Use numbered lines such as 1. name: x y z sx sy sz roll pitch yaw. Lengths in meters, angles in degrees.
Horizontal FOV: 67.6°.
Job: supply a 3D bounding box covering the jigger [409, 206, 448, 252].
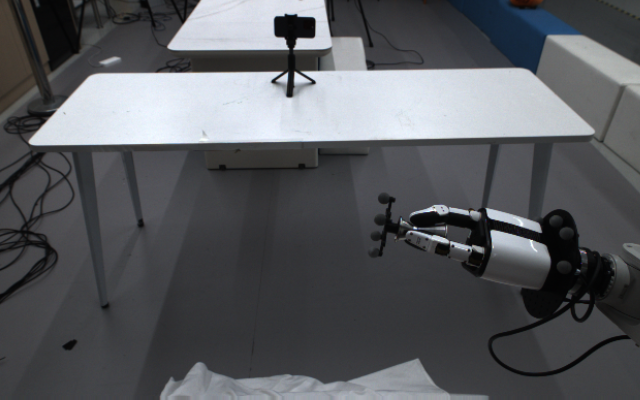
1. jigger: 0.152 0.046 0.705 0.071 0.043 0.043 11 35 4
